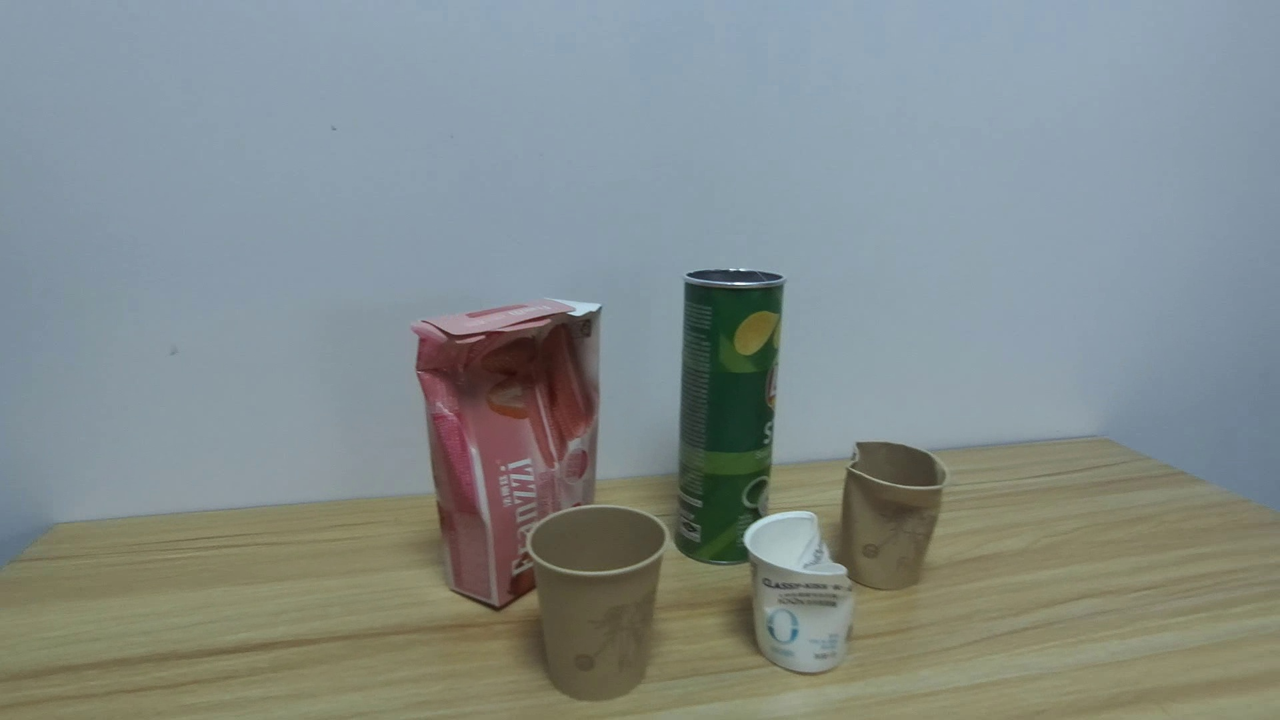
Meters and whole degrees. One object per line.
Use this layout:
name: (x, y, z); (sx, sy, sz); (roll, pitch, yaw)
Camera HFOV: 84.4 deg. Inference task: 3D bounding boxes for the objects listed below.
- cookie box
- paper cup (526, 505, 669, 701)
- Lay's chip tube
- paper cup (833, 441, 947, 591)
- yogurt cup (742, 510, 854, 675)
cookie box: (-0.080, 0.059, 0.461); (0.055, 0.184, 0.119); (13, 21, 41)
paper cup: (-0.023, 0.131, 0.381); (0.075, 0.082, 0.075); (1, 15, 0)
Lay's chip tube: (0.062, 0.038, 0.500); (0.071, 0.202, 0.071); (1, 15, 0)
paper cup: (0.170, 0.106, 0.481); (0.066, 0.084, 0.072); (6, 16, 20)
yogurt cup: (0.090, 0.134, 0.402); (0.067, 0.070, 0.067); (2, 18, 0)
